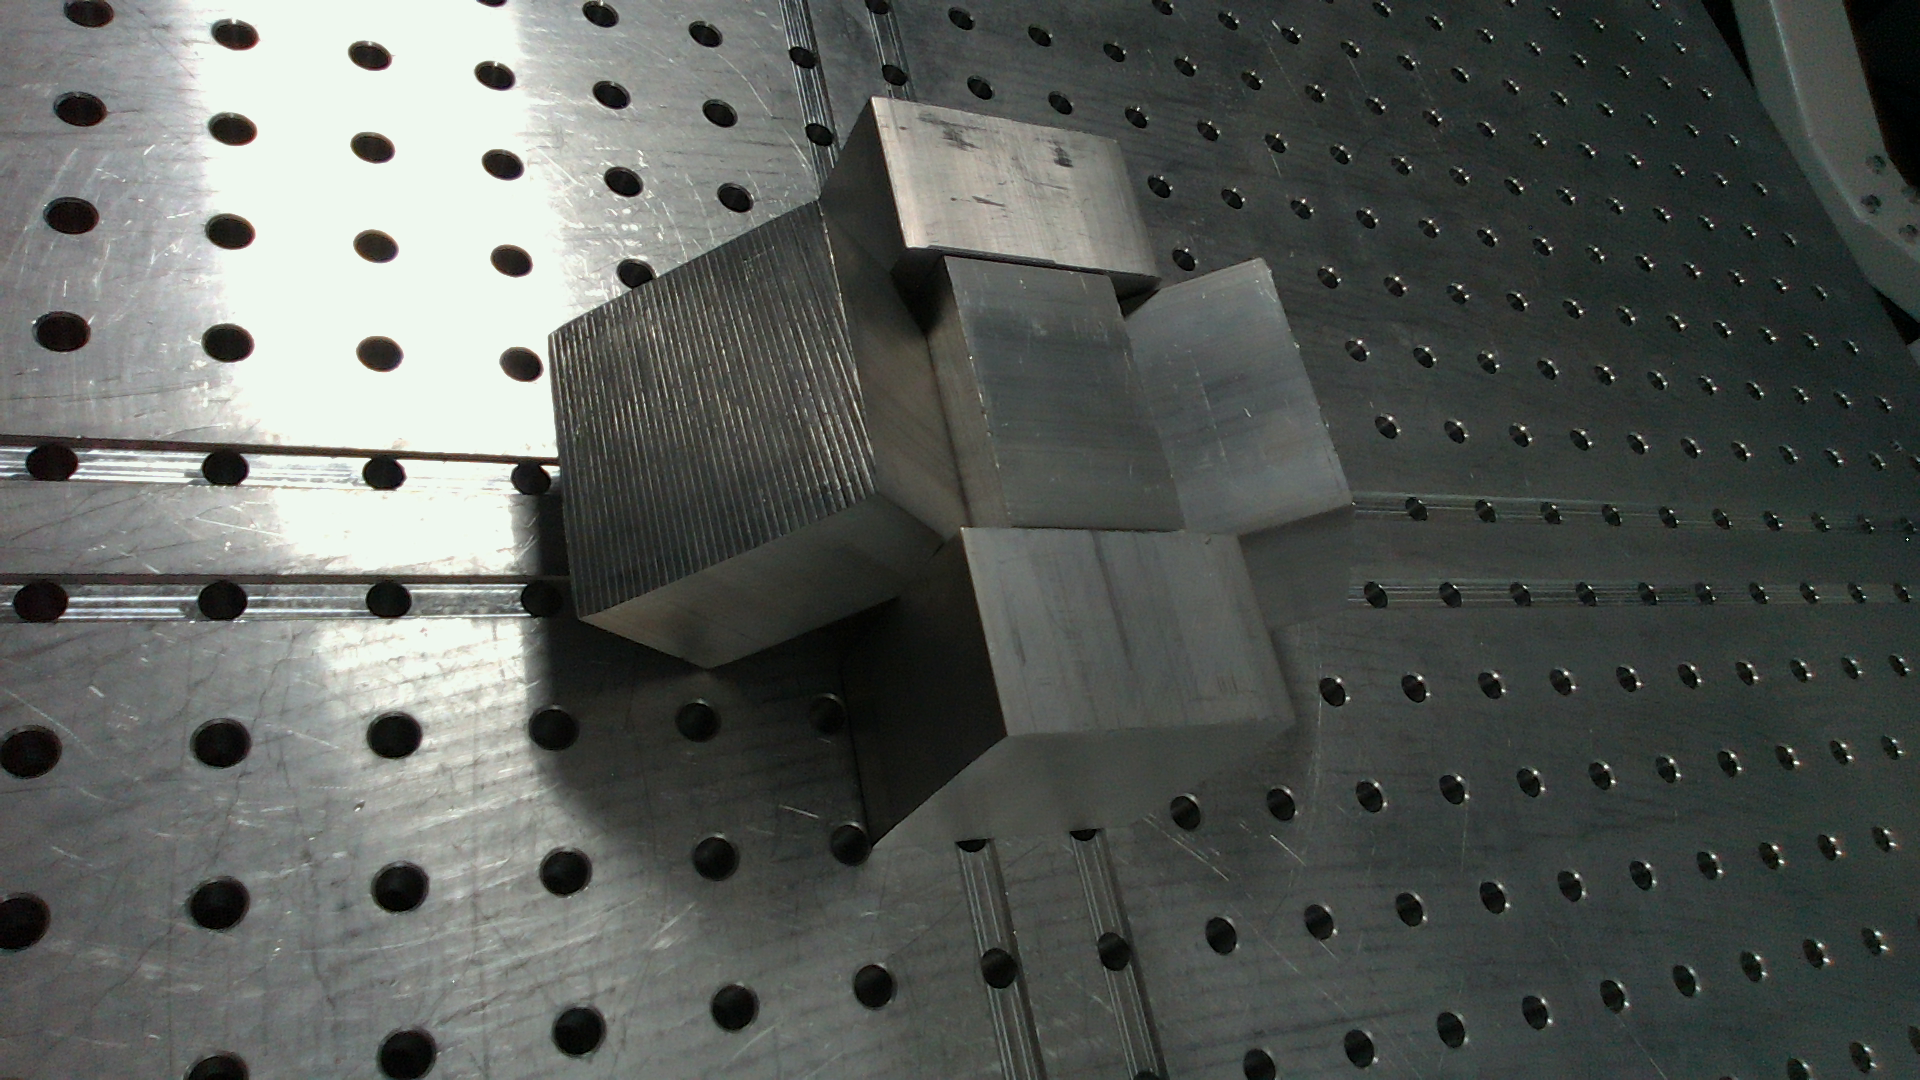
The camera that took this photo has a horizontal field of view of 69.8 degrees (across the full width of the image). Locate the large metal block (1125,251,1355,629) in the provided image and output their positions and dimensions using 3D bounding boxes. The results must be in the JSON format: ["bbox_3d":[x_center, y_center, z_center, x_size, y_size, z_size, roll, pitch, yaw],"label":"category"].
[{"bbox_3d":[0.076,-0.022,0.400,0.050,0.080,0.080,-16,64,6],"label":"large metal block"}]

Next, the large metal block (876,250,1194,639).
[{"bbox_3d":[0.010,-0.019,0.373,0.050,0.080,0.080,1,61,-28],"label":"large metal block"}]

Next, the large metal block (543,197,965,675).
[{"bbox_3d":[-0.050,-0.023,0.336,0.050,0.080,0.080,36,36,-59],"label":"large metal block"}]

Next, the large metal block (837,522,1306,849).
[{"bbox_3d":[0.024,0.038,0.346,0.080,0.080,0.050,1,61,-28],"label":"large metal block"}]

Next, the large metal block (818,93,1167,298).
[{"bbox_3d":[0.000,-0.077,0.403,0.080,0.080,0.050,1,61,-28],"label":"large metal block"}]
